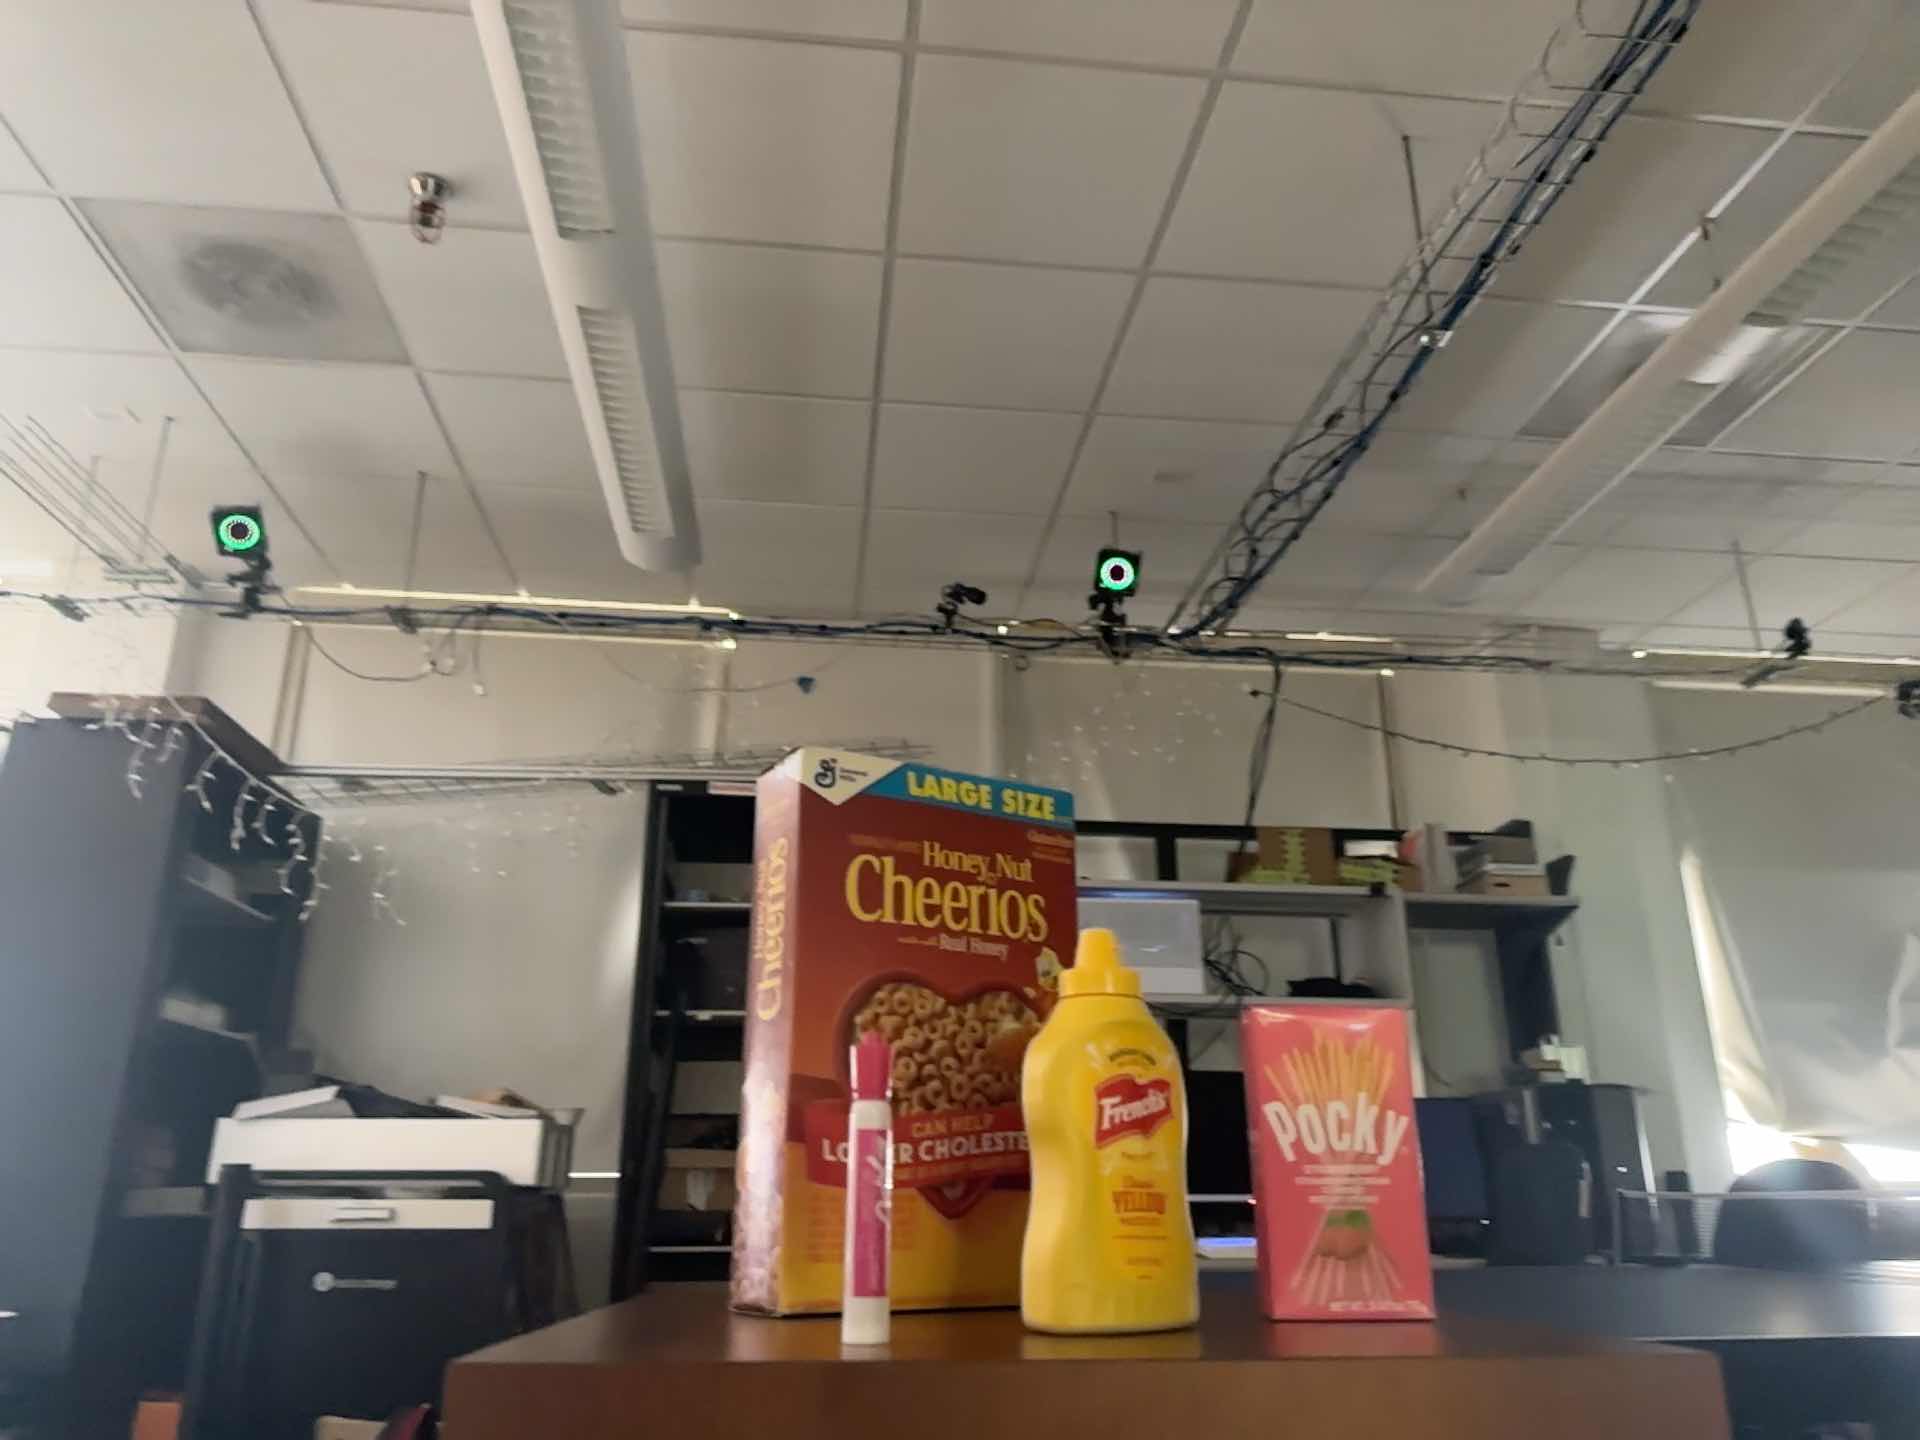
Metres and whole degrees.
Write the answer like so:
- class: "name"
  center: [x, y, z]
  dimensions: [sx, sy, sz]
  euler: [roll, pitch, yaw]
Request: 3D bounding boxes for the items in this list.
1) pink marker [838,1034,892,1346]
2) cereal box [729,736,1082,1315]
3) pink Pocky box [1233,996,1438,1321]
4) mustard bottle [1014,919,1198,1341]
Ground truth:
- class: "pink marker"
  center: [-0.039, 0.192, 0.559]
  dimensions: [0.020, 0.121, 0.020]
  euler: [0, -19, 0]
- class: "cereal box"
  center: [-0.024, 0.174, 0.788]
  dimensions: [0.195, 0.297, 0.065]
  euler: [13, -22, -33]
- class: "pink Pocky box"
  center: [0.188, 0.218, 0.685]
  dimensions: [0.084, 0.154, 0.029]
  euler: [1, -18, -7]
- class: "mustard bottle"
  center: [0.064, 0.185, 0.630]
  dimensions: [0.092, 0.184, 0.054]
  euler: [9, -20, -29]
